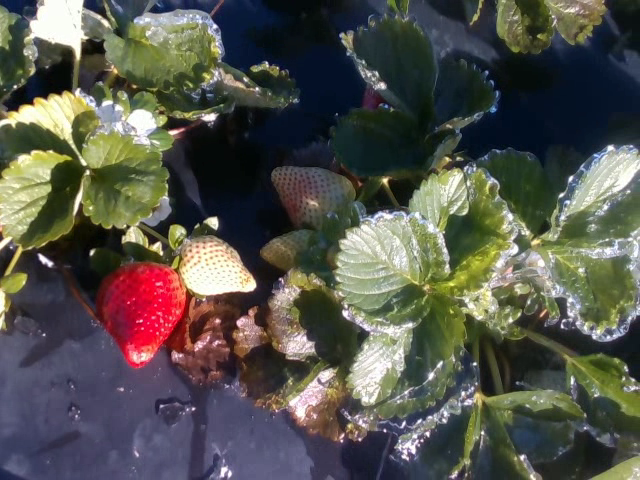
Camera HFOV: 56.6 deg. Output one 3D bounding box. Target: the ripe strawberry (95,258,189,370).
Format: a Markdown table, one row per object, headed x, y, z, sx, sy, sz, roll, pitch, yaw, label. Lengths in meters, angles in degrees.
| x | y | z | sx | sy | sz | roll | pitch | yaw | label |
| --- | --- | --- | --- | --- | --- | --- | --- | --- | --- |
| -0.074 | 0.033 | 0.241 | 0.040 | 0.042 | 0.053 | -18 | 37 | 3 | ripe strawberry |
